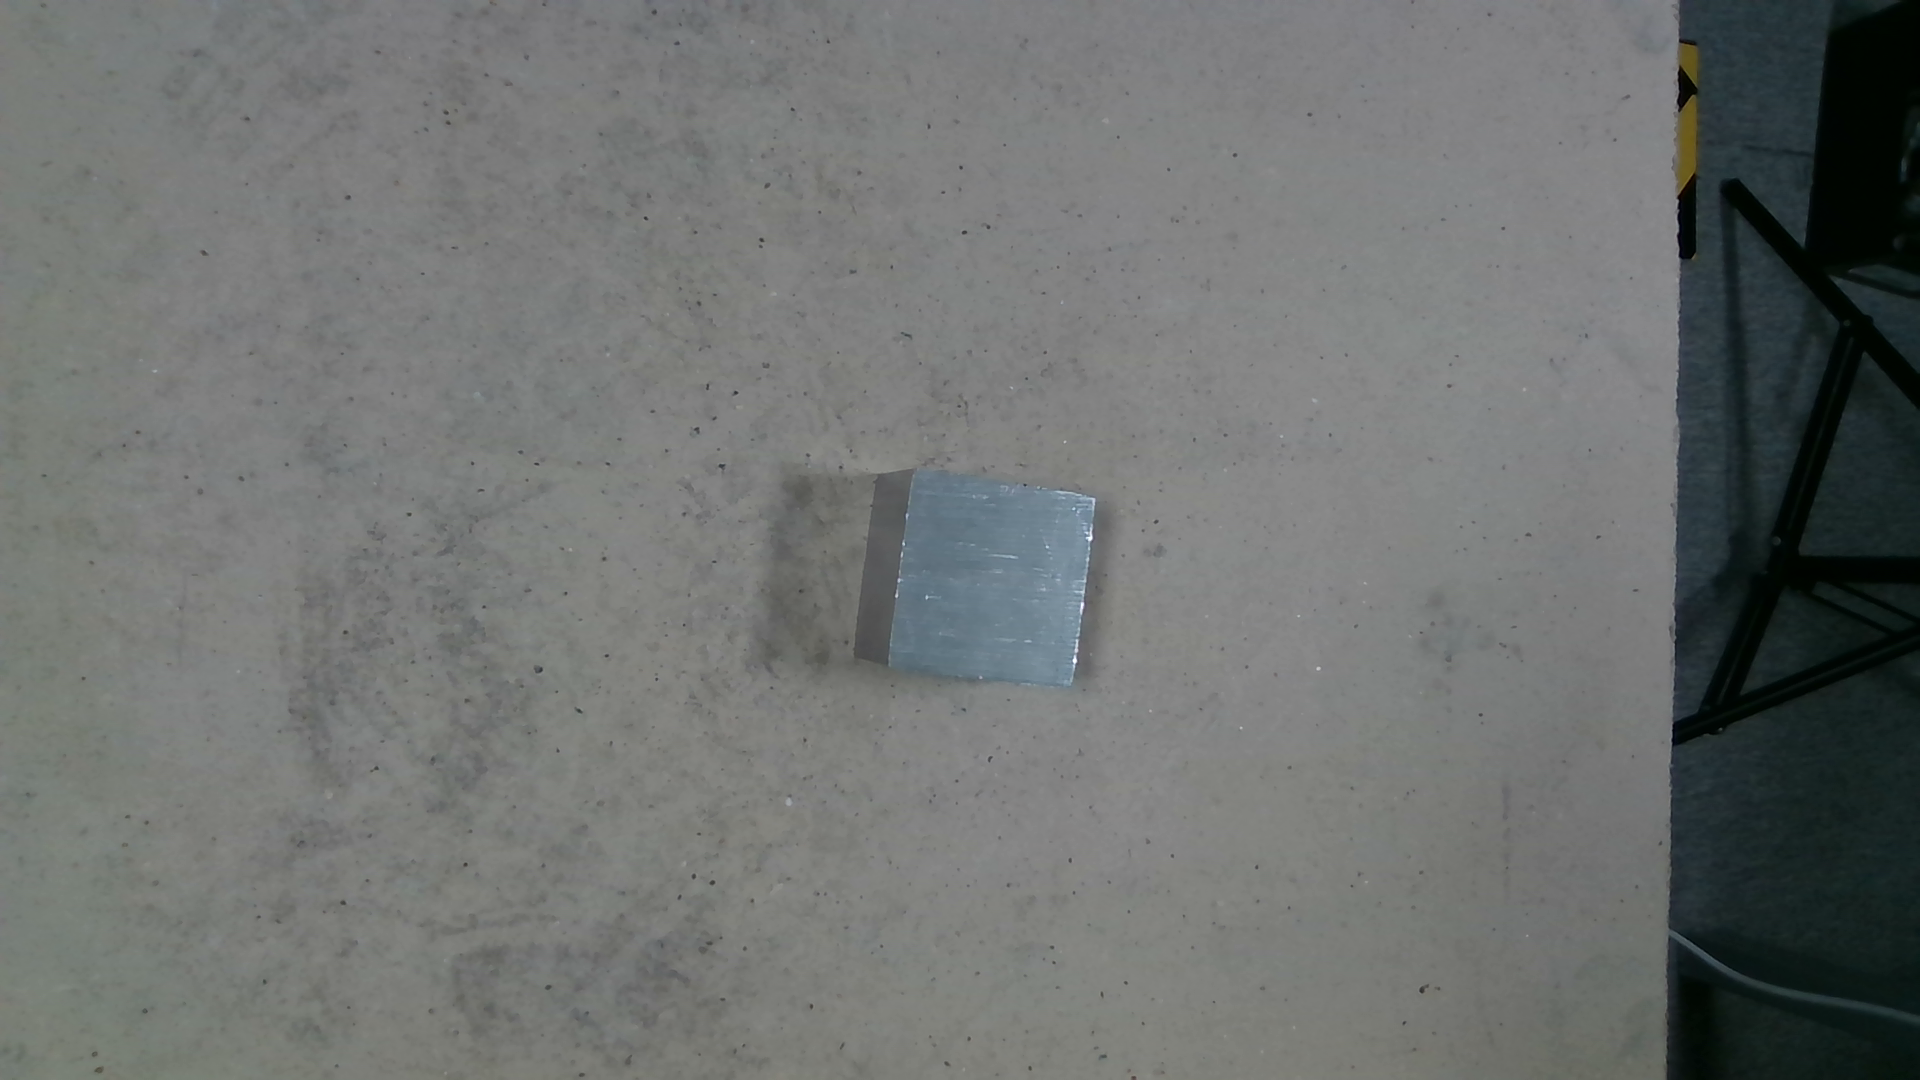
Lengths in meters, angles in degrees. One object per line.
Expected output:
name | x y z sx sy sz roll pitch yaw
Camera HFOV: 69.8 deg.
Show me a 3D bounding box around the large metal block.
large metal block | 0.005 0.016 0.575 0.080 0.050 0.080 8 87 -20
